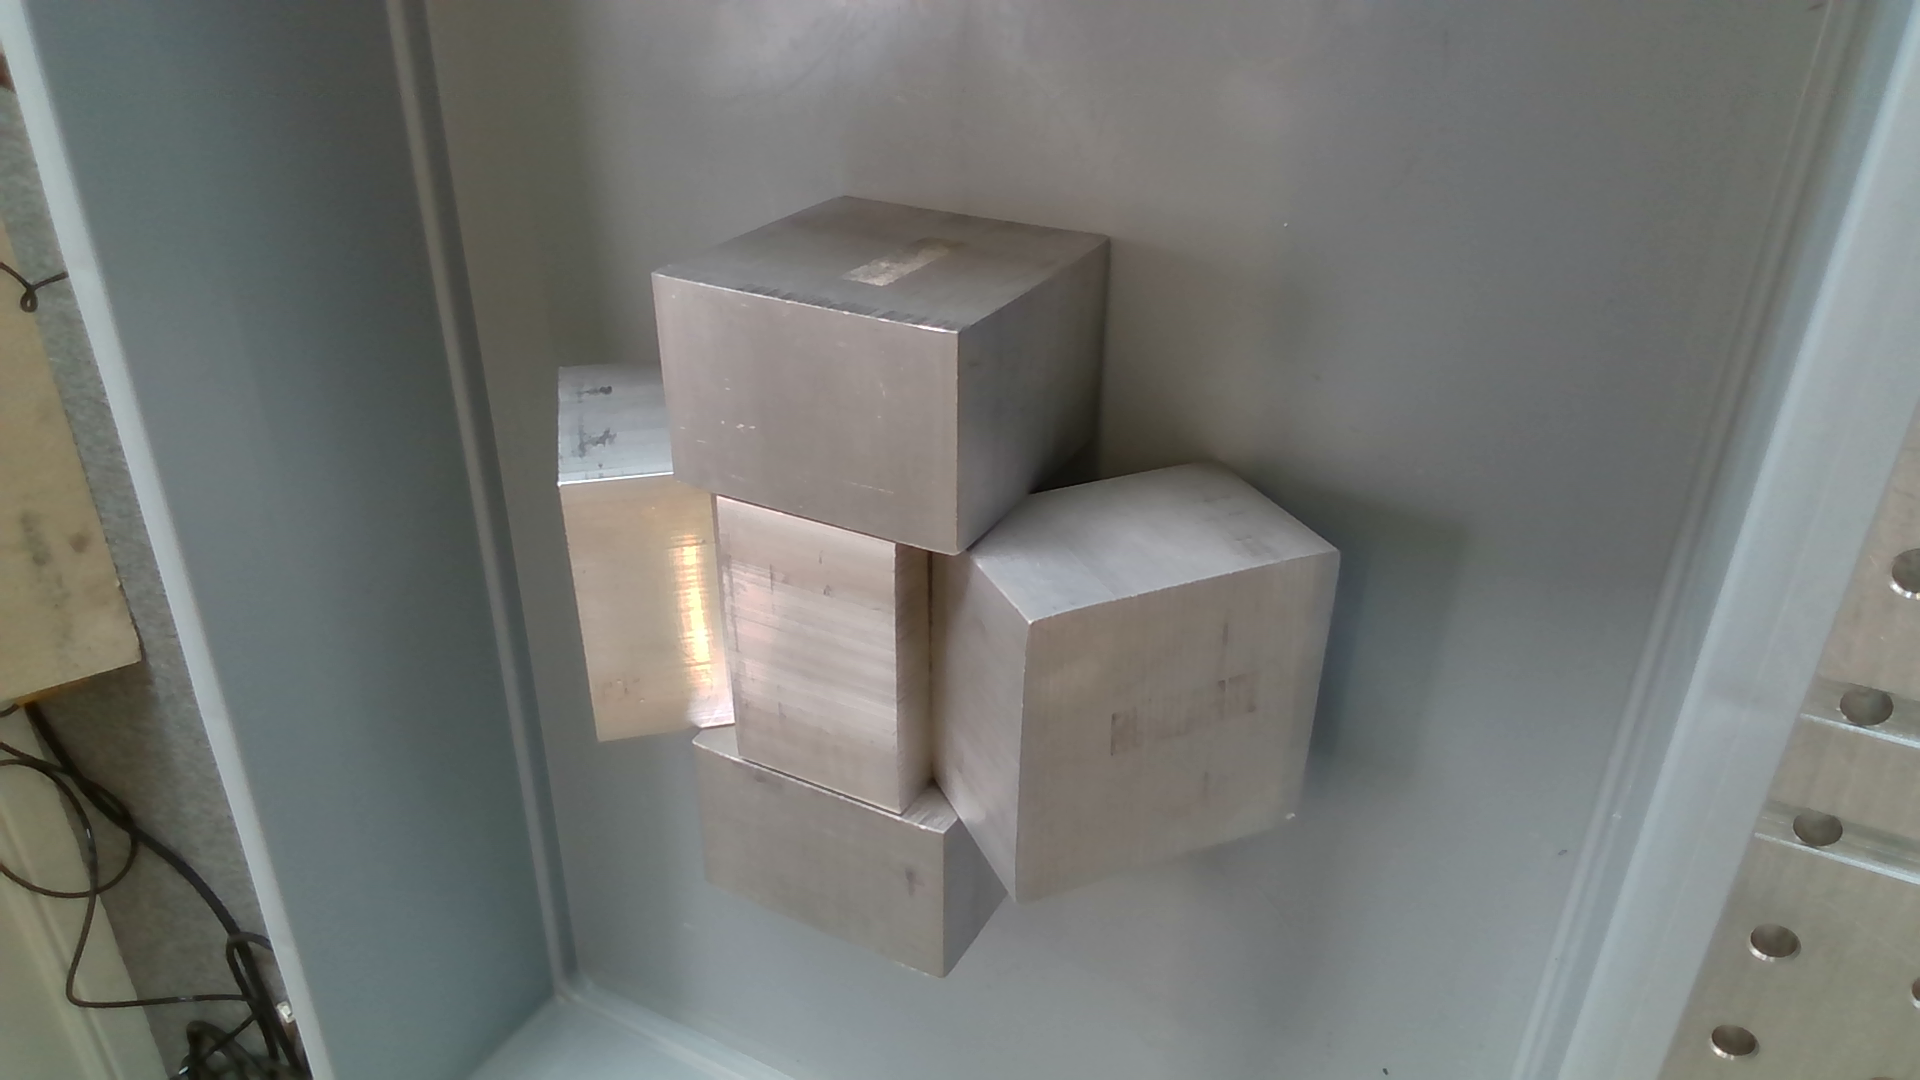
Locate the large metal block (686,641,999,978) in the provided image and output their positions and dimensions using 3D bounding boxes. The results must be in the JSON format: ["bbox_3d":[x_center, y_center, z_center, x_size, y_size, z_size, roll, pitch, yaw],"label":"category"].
[{"bbox_3d":[-0.021,0.069,0.403,0.080,0.080,0.050,15,122,24],"label":"large metal block"}]

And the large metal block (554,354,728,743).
[{"bbox_3d":[-0.084,-0.001,0.395,0.050,0.080,0.080,-7,121,-12],"label":"large metal block"}]

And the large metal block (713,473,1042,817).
[{"bbox_3d":[-0.019,0.013,0.371,0.050,0.080,0.080,15,122,24],"label":"large metal block"}]

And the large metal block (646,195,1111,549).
[{"bbox_3d":[-0.017,-0.046,0.338,0.080,0.080,0.050,15,122,25],"label":"large metal block"}]

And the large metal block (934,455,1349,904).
[{"bbox_3d":[0.041,0.032,0.337,0.050,0.080,0.080,-132,36,-52],"label":"large metal block"}]
